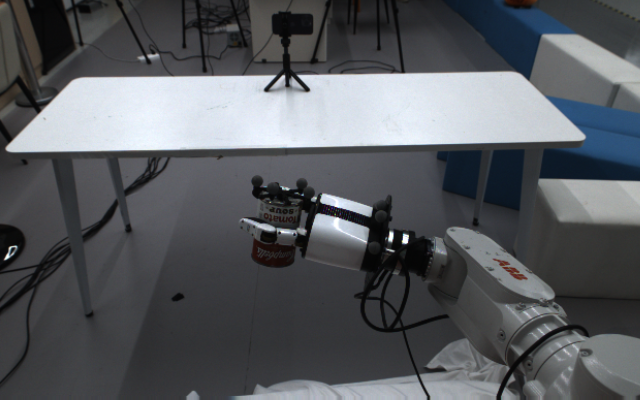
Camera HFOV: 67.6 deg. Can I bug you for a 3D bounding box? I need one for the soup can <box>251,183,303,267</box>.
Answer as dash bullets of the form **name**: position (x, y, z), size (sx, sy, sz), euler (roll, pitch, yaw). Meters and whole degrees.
- **soup can**: position (-0.064, 0.042, 0.730), size (0.067, 0.101, 0.067), euler (8, 19, -3)
